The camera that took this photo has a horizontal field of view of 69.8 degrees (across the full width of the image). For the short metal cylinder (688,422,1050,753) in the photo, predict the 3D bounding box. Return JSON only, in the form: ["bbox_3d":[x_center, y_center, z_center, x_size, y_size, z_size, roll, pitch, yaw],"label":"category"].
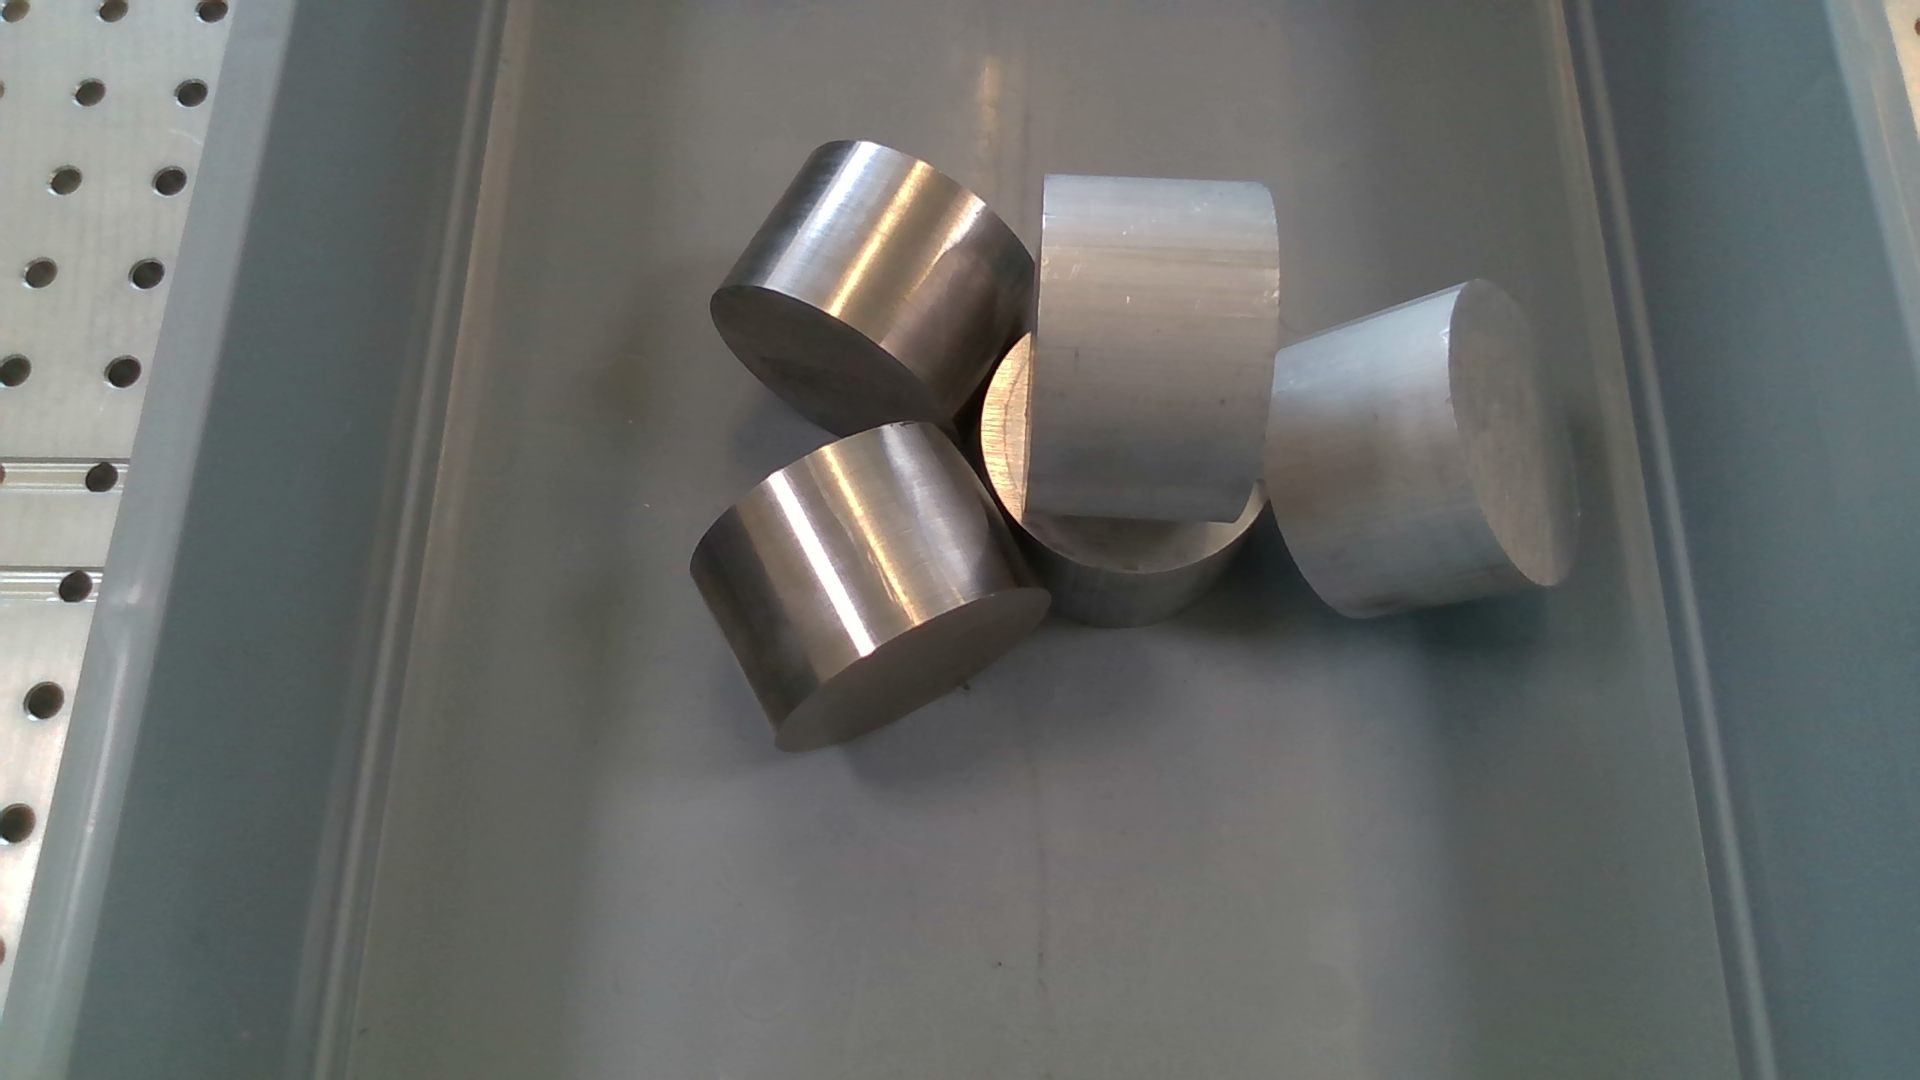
[{"bbox_3d":[-0.024,0.013,0.360,0.080,0.080,0.050,-27,72,-9],"label":"short metal cylinder"}]

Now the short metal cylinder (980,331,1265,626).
[{"bbox_3d":[0.045,-0.021,0.387,0.080,0.050,0.080,0,70,0],"label":"short metal cylinder"}]

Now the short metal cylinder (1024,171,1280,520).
[{"bbox_3d":[0.042,-0.046,0.328,0.050,0.080,0.080,3,70,1],"label":"short metal cylinder"}]

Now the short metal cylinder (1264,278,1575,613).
[{"bbox_3d":[0.123,-0.023,0.367,0.050,0.080,0.080,-14,64,41],"label":"short metal cylinder"}]

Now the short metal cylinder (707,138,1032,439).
[{"bbox_3d":[-0.023,-0.065,0.388,0.080,0.080,0.050,27,72,9],"label":"short metal cylinder"}]
